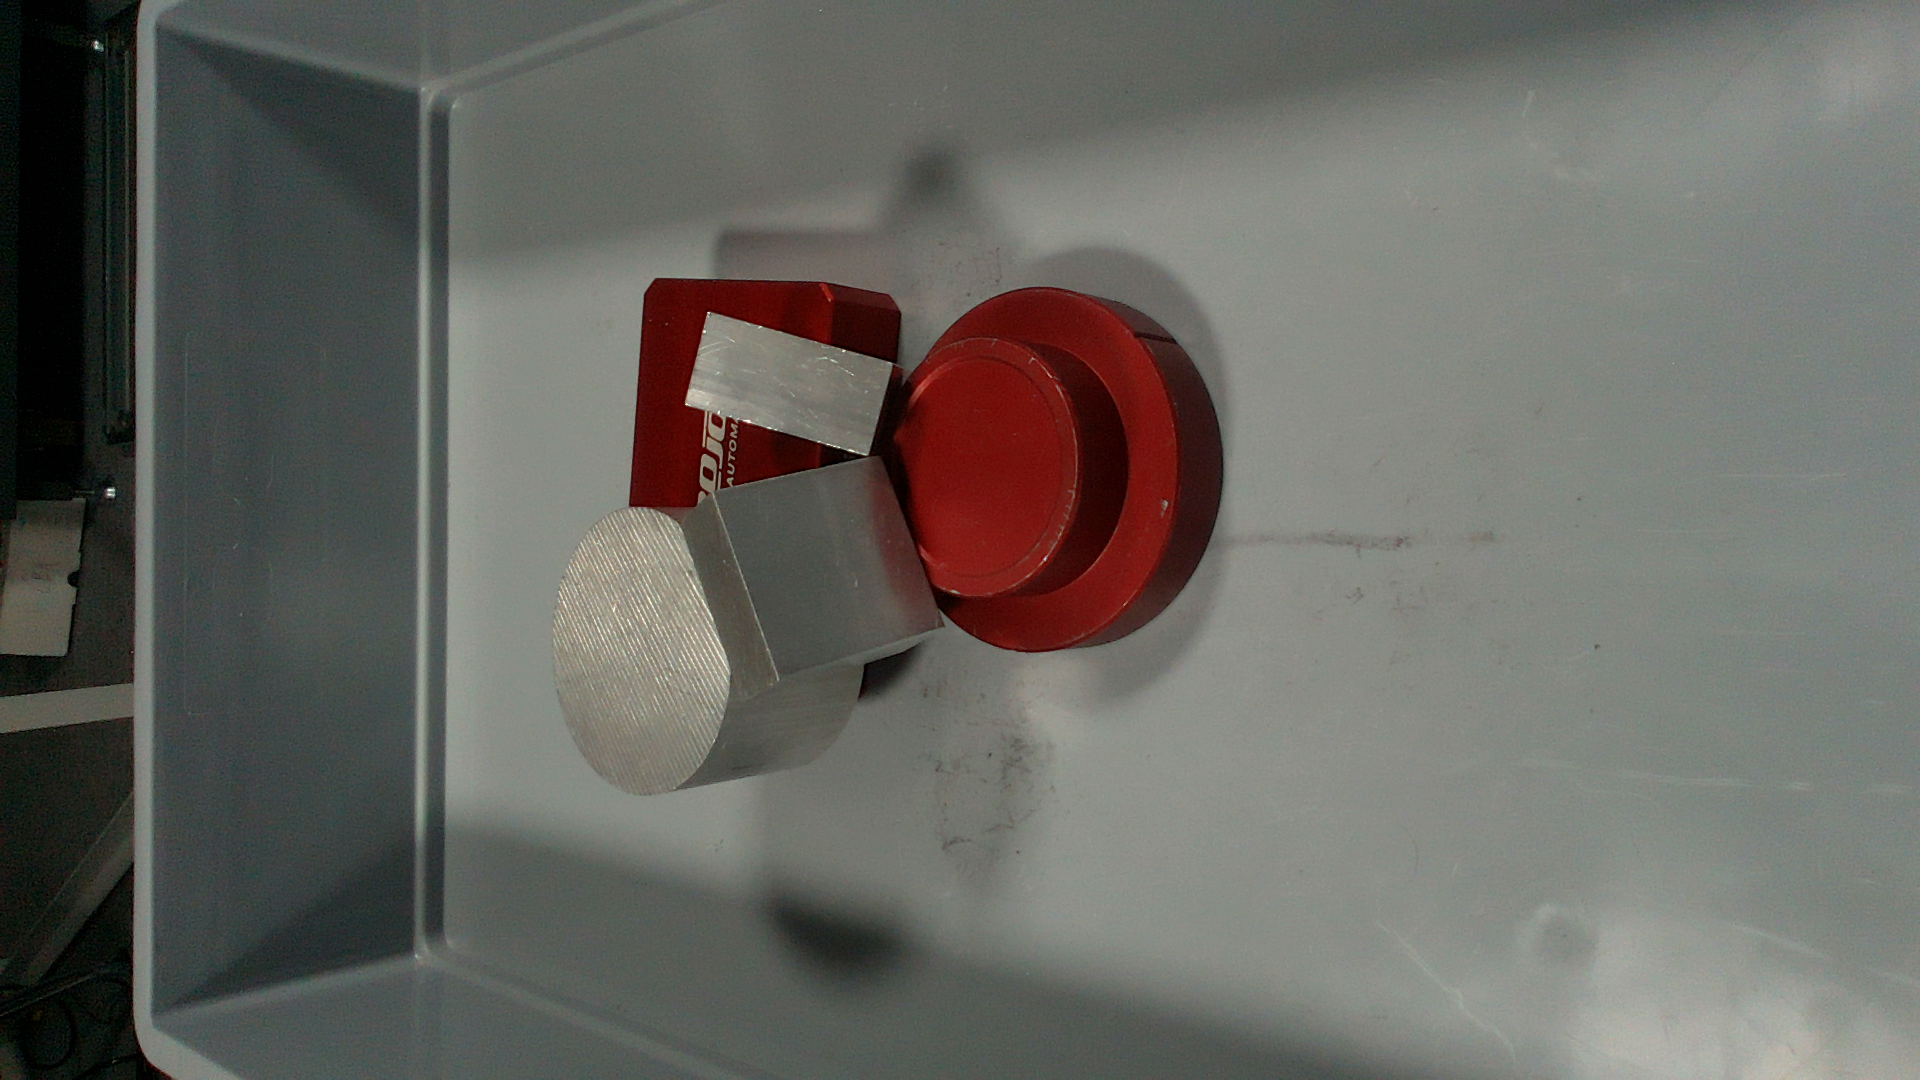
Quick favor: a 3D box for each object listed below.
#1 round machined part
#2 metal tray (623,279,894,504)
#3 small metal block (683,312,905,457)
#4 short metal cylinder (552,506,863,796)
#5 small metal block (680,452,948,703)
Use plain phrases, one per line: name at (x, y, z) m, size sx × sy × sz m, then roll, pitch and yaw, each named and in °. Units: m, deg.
round machined part at (0.017, -0.019, 0.368) m, size 0.098 × 0.042 × 0.098 m, roll 0°, pitch 90°, yaw 40°
metal tray at (-0.069, -0.016, 0.446) m, size 0.090 × 0.030 × 0.130 m, roll 10°, pitch 96°, yaw 40°
small metal block at (-0.043, -0.042, 0.379) m, size 0.050 × 0.050 × 0.025 m, roll 16°, pitch 96°, yaw 2°
short metal cylinder at (-0.074, 0.030, 0.400) m, size 0.080 × 0.050 × 0.080 m, roll 0°, pitch 90°, yaw 40°
small metal block at (-0.038, 0.009, 0.358) m, size 0.025 × 0.050 × 0.050 m, roll -33°, pitch 75°, yaw 55°
